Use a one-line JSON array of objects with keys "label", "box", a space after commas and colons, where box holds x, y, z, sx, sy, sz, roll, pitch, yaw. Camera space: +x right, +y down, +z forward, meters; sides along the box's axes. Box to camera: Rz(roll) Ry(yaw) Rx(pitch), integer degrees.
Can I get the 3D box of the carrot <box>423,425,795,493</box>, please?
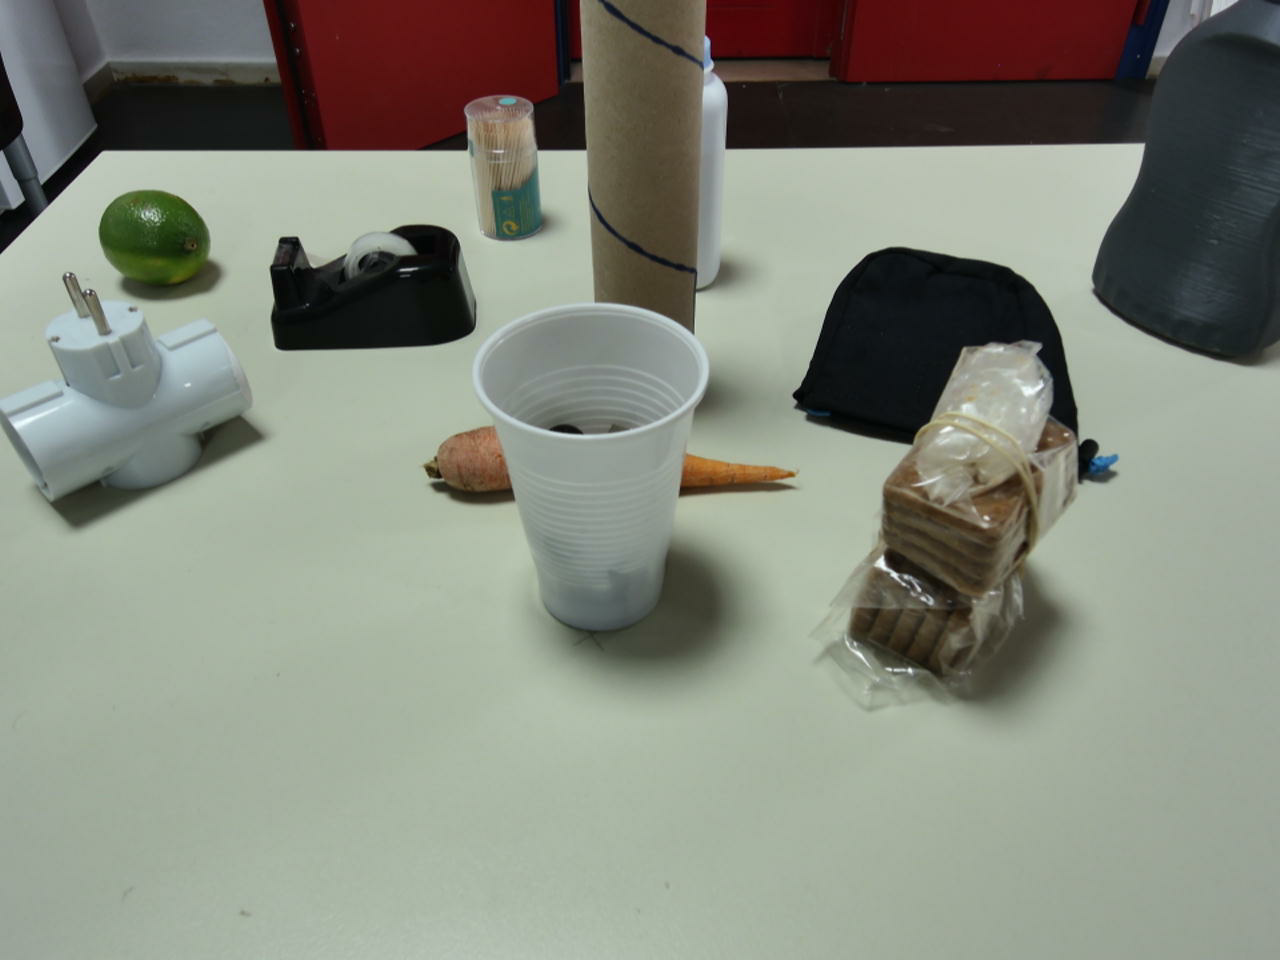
[{"label": "carrot", "box": [-0.012, -0.009, 0.444, 0.163, 0.029, 0.031, 0, 38, 0]}]
